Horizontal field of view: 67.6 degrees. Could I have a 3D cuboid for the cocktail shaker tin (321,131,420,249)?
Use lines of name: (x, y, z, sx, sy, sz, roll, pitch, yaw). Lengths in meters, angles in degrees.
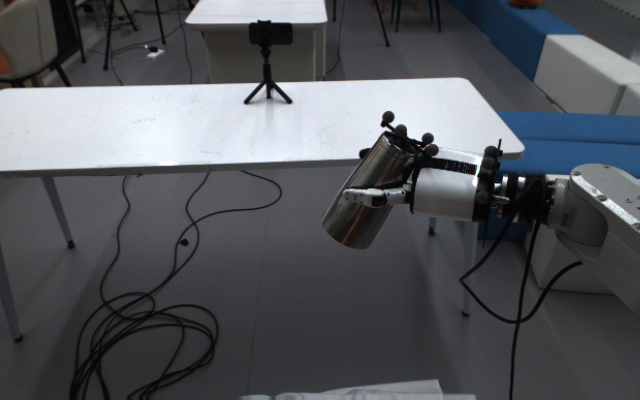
cocktail shaker tin: (0.082, -0.022, 0.744, 0.093, 0.170, 0.093, 25, 29, -15)
